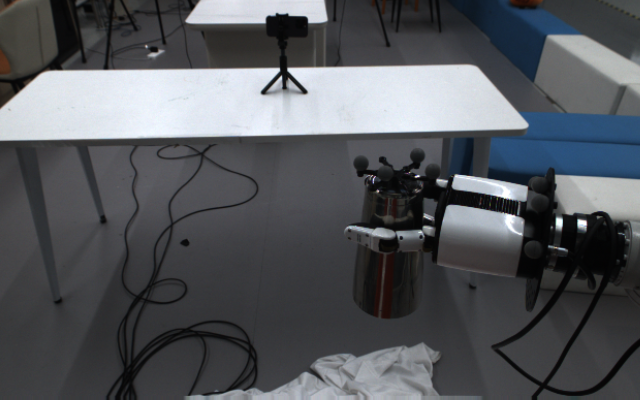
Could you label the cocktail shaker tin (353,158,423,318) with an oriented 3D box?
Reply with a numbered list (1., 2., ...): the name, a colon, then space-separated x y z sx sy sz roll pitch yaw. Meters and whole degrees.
1. cocktail shaker tin: 0.092 0.048 0.597 0.093 0.170 0.093 -1 32 1
